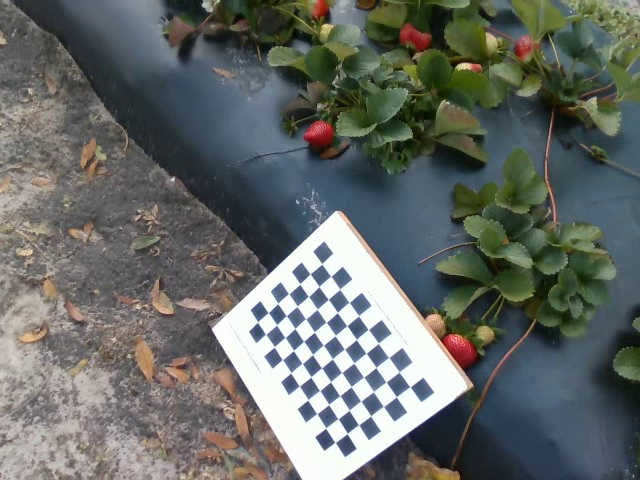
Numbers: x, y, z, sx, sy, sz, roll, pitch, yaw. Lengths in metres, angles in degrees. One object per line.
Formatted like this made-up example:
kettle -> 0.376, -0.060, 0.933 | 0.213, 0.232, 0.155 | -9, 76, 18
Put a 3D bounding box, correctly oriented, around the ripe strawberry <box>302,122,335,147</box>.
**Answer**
ripe strawberry -> -0.009, -0.173, 0.951 | 0.050, 0.049, 0.053 | 46, 38, 19
